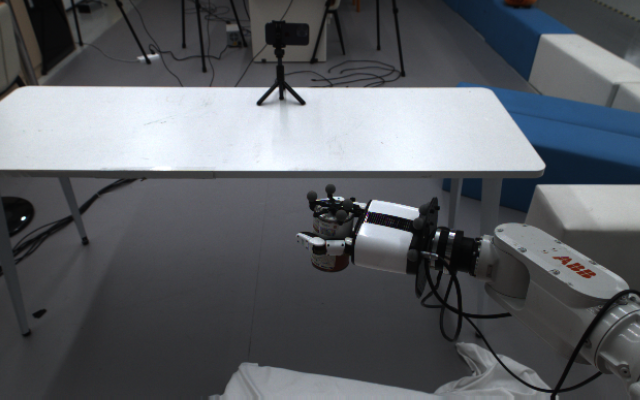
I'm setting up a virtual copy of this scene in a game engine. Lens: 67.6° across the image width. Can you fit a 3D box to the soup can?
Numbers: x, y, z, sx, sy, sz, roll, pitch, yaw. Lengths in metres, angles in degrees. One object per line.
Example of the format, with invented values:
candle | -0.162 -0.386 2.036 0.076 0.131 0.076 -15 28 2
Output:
soup can | 0.021 0.060 0.800 0.067 0.101 0.067 3 30 -2
